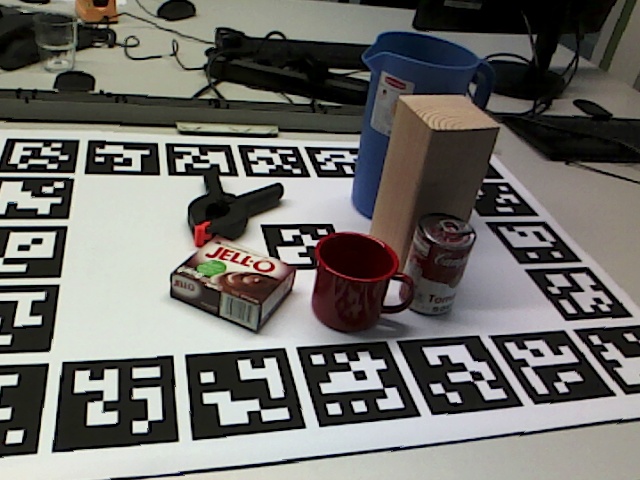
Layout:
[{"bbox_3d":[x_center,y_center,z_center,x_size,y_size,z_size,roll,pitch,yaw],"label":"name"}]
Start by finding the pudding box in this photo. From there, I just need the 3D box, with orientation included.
[{"bbox_3d":[-0.106,0.046,0.698,0.114,0.038,0.090,20,38,16],"label":"pudding box"}]

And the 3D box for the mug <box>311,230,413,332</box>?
[{"bbox_3d":[0.045,0.051,0.683,0.117,0.081,0.093,19,33,15],"label":"mug"}]

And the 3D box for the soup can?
[{"bbox_3d":[0.131,0.028,0.716,0.068,0.102,0.068,6,36,-5],"label":"soup can"}]

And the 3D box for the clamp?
[{"bbox_3d":[-0.123,-0.043,0.834,0.122,0.036,0.165,21,35,4],"label":"clamp"}]

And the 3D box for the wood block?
[{"bbox_3d":[0.135,-0.066,0.763,0.089,0.206,0.091,0,35,-20],"label":"wood block"}]

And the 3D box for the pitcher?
[{"bbox_3d":[0.133,-0.149,0.857,0.188,0.242,0.134,-4,34,-14],"label":"pitcher"}]
